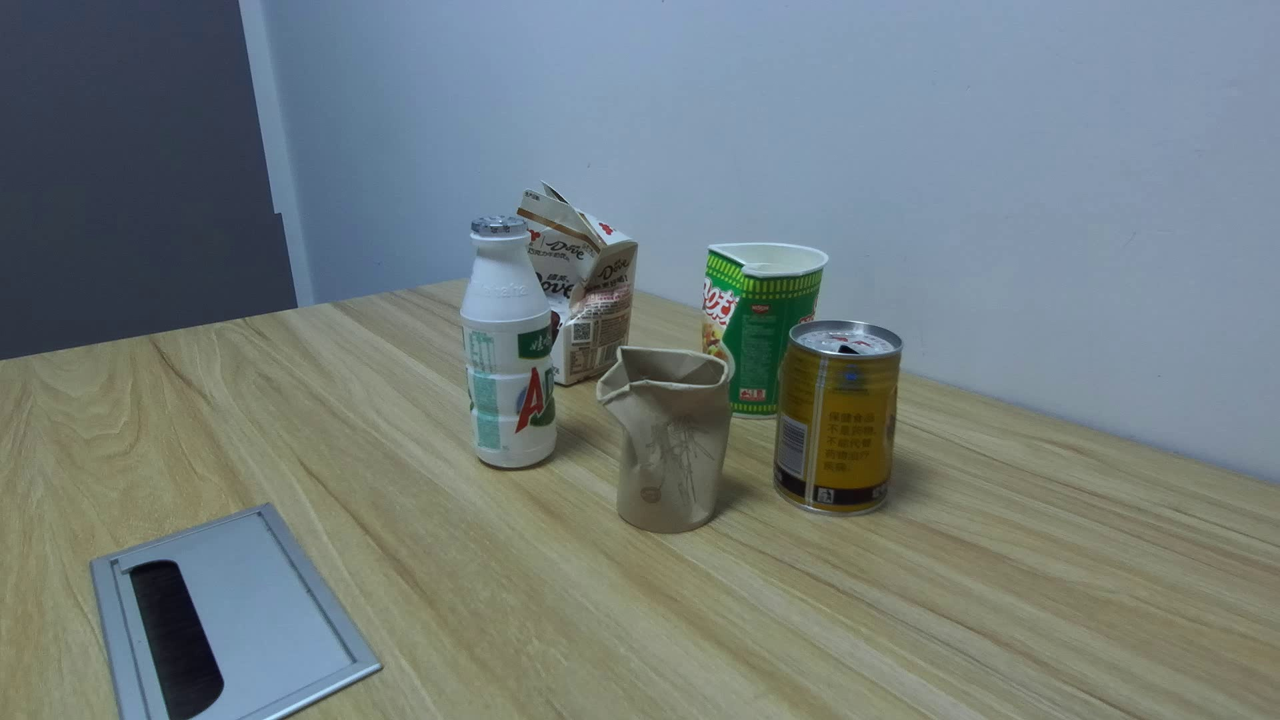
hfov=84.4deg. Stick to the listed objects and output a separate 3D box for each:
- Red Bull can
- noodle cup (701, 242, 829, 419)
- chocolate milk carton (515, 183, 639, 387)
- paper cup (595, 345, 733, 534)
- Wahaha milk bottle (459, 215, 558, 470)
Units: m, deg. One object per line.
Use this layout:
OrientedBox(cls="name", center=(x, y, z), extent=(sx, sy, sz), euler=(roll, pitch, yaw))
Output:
OrientedBox(cls="Red Bull can", center=(0.108, 0.029, 0.389), extent=(0.068, 0.093, 0.068), euler=(0, 22, 0))
OrientedBox(cls="noodle cup", center=(0.084, -0.020, 0.492), extent=(0.087, 0.109, 0.094), euler=(3, 21, 11))
OrientedBox(cls="chocolate milk carton", center=(-0.057, -0.057, 0.553), extent=(0.089, 0.155, 0.077), euler=(27, 37, 27))
OrientedBox(cls="paper cup", center=(0.012, 0.044, 0.369), extent=(0.066, 0.083, 0.058), euler=(5, 25, 21))
OrientedBox(cls="Wahaha milk bottle", center=(-0.079, -0.009, 0.423), extent=(0.053, 0.147, 0.053), euler=(0, 20, 0))
